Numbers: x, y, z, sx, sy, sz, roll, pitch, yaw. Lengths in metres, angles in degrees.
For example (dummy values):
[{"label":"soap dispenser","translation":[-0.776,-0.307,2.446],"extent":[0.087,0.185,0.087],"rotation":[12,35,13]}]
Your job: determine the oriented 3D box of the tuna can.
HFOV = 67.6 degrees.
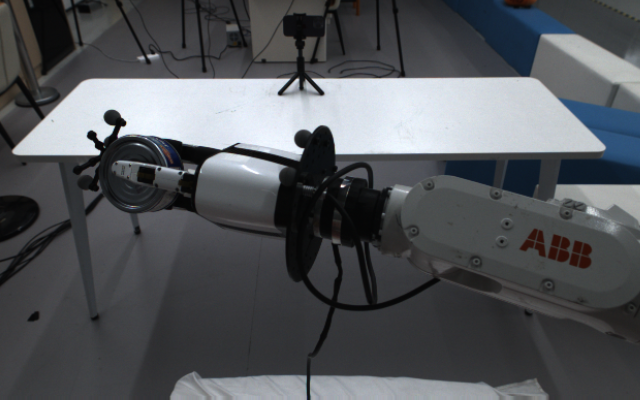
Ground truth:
[{"label":"tuna can","translation":[-0.191,-0.024,0.524],"extent":[0.085,0.085,0.034],"rotation":[10,5,11]}]
